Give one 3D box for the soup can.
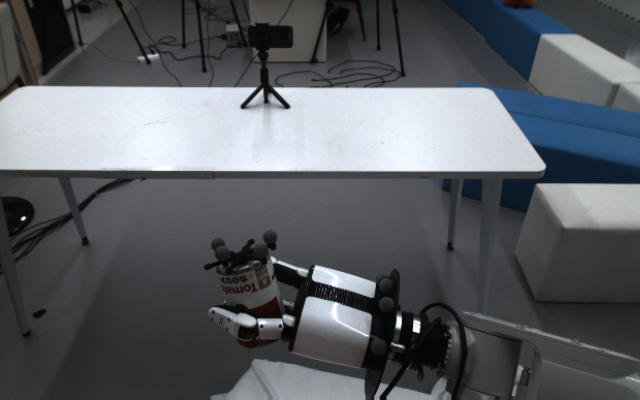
[{"bbox_3d":[-0.079,0.118,0.592,0.067,0.101,0.067,-12,17,4],"label":"soup can"}]
